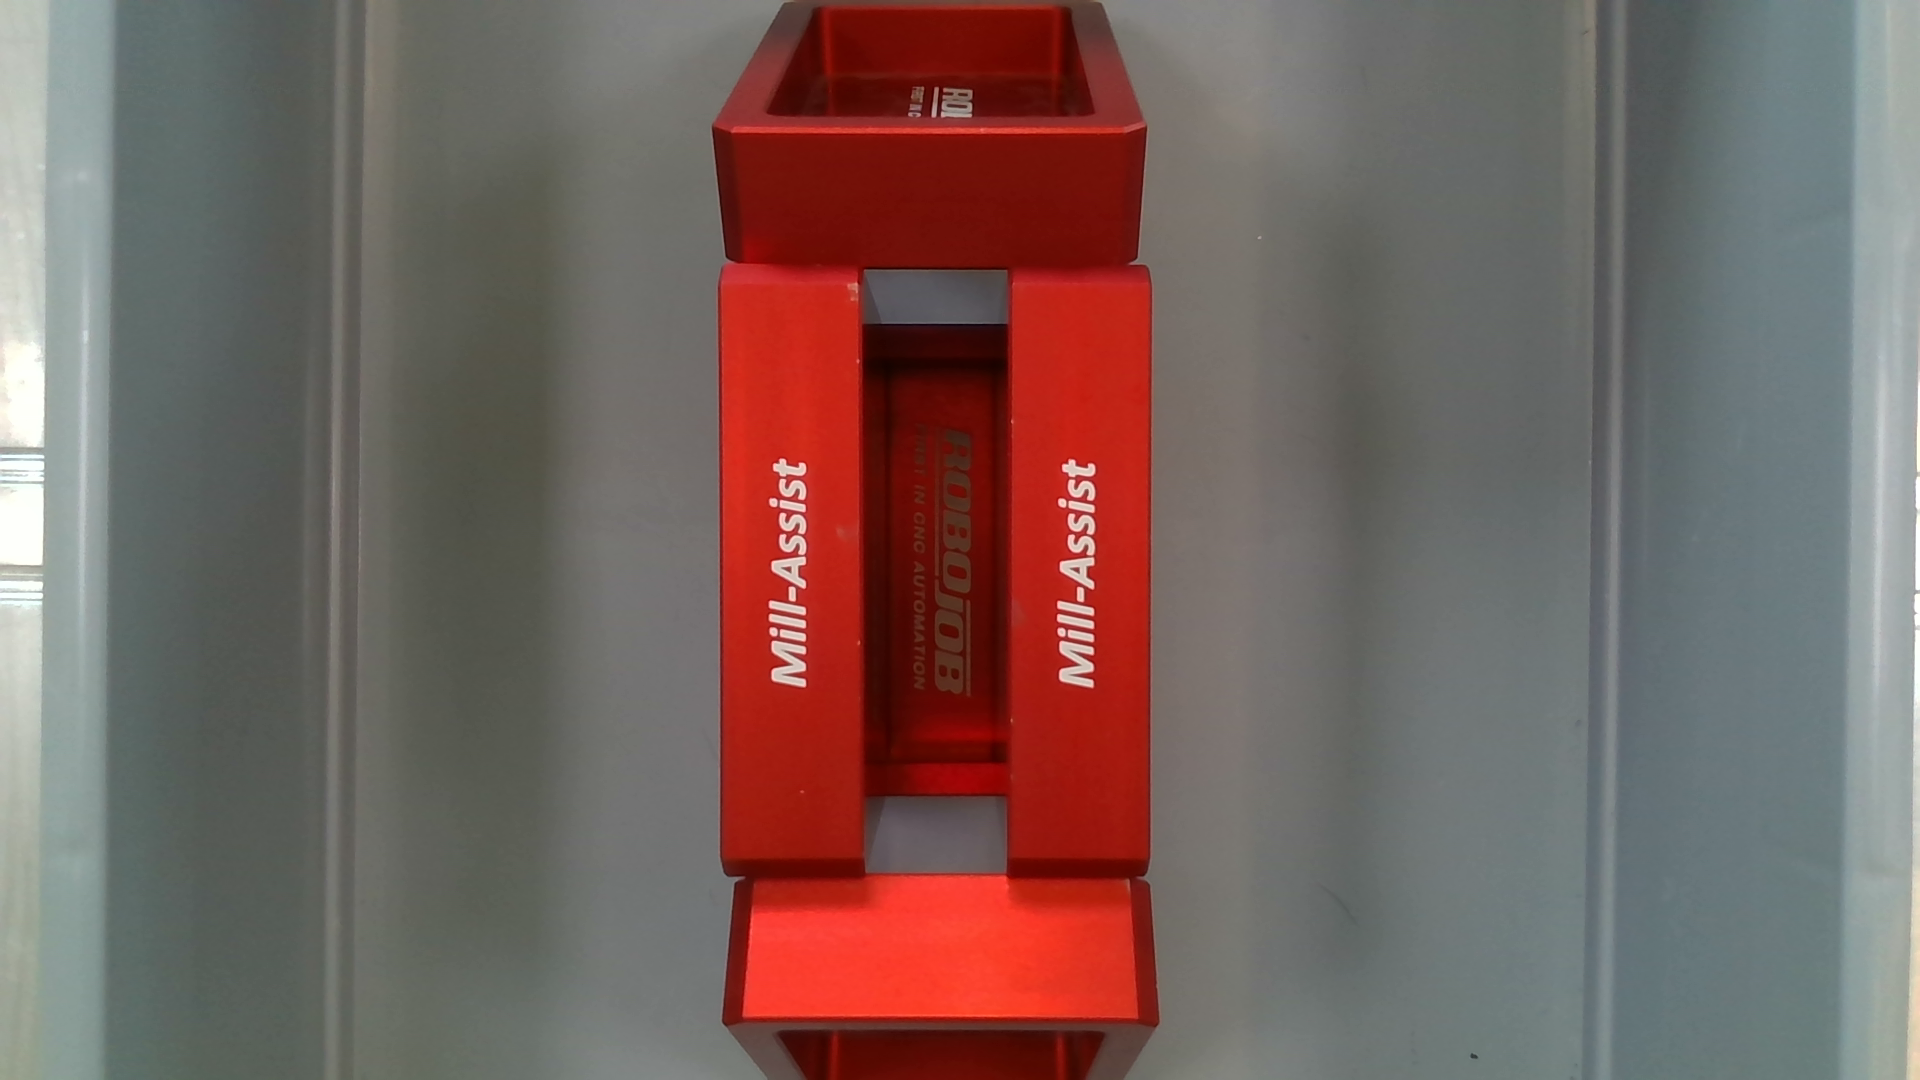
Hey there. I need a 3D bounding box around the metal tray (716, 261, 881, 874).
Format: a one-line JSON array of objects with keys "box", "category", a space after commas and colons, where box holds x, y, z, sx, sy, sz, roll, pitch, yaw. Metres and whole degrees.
[{"box": [-0.036, 0.006, 0.332, 0.030, 0.090, 0.130, 0, 91, 0], "category": "metal tray"}]

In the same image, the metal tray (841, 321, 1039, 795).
[{"box": [-0.006, 0.005, 0.392, 0.090, 0.030, 0.130, -1, 91, 0], "category": "metal tray"}]

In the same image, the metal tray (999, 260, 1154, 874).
[{"box": [0.025, 0.006, 0.331, 0.030, 0.090, 0.130, 0, 90, 0], "category": "metal tray"}]

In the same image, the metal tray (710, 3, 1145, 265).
[{"box": [-0.006, -0.106, 0.343, 0.090, 0.130, 0.030, 0, 122, 1], "category": "metal tray"}]

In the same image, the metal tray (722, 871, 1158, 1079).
[{"box": [-0.004, 0.116, 0.344, 0.090, 0.130, 0.030, 0, 60, 0], "category": "metal tray"}]
